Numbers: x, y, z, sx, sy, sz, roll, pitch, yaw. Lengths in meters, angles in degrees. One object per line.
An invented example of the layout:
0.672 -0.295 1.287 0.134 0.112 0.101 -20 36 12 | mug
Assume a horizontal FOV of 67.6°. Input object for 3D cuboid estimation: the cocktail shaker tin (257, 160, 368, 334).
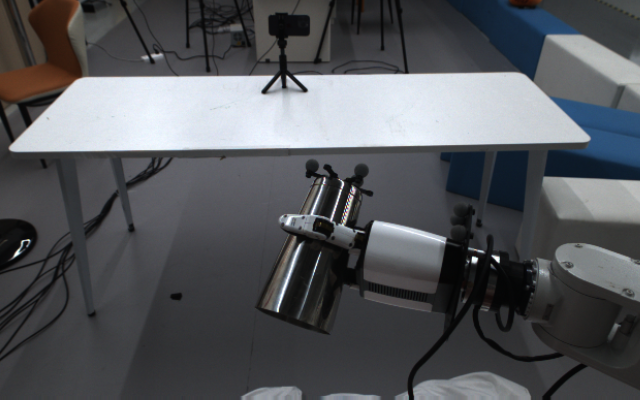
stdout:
-0.005 0.062 0.575 0.093 0.093 0.170 14 70 16 | cocktail shaker tin
